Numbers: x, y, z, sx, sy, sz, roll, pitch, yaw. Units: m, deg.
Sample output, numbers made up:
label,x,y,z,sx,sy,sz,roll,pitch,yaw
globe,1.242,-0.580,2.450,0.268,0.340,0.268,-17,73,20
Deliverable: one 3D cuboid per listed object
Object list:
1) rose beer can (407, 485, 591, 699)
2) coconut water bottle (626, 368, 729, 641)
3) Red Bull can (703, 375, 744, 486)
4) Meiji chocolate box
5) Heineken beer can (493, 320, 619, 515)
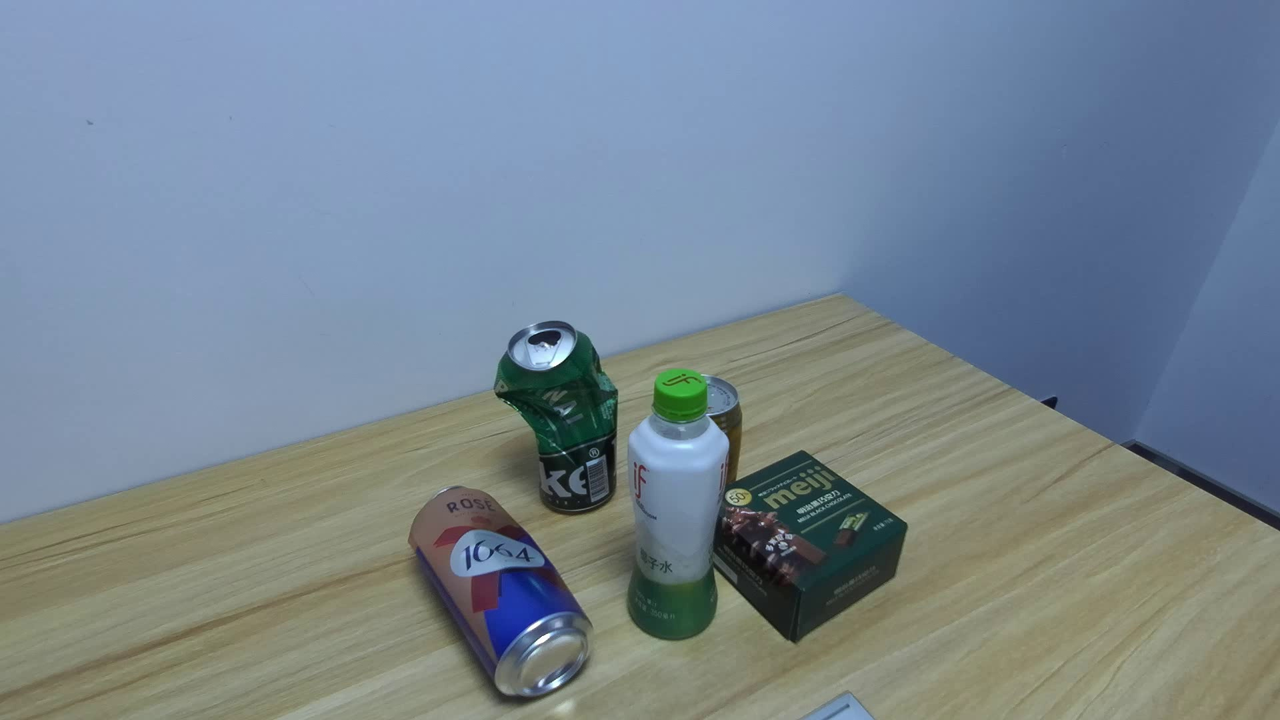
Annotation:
label,x,y,z,sx,sy,sz,roll,pitch,yaw
rose beer can,-0.099,0.150,0.486,0.070,0.069,0.167,-36,41,-17
coconut water bottle,0.023,0.094,0.453,0.063,0.189,0.063,0,31,0
Red Bull can,0.050,0.067,0.592,0.069,0.092,0.069,1,31,0
Meiji chocolate box,0.118,0.133,0.527,0.110,0.056,0.108,-18,34,-29
Heineken beer can,-0.058,0.047,0.567,0.067,0.159,0.079,16,40,32
